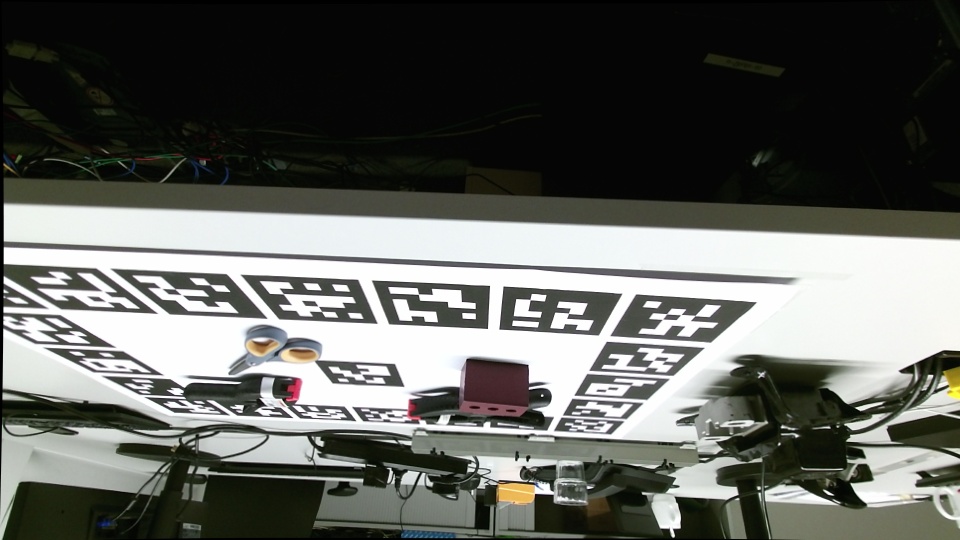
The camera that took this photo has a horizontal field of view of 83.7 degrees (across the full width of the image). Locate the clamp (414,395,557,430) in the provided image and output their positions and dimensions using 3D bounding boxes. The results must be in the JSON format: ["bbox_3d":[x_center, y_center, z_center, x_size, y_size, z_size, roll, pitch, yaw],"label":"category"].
[{"bbox_3d":[0.006,0.211,0.779,0.203,0.036,0.165,2,151,5],"label":"clamp"}]

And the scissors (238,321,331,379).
[{"bbox_3d":[-0.256,0.111,0.655,0.088,0.016,0.203,33,140,-27],"label":"scissors"}]

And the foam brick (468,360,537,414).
[{"bbox_3d":[0.025,0.145,0.660,0.078,0.051,0.053,3,147,-8],"label":"foam brick"}]

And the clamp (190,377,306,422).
[{"bbox_3d":[-0.321,0.186,0.778,0.165,0.036,0.122,-13,138,24],"label":"clamp"}]
